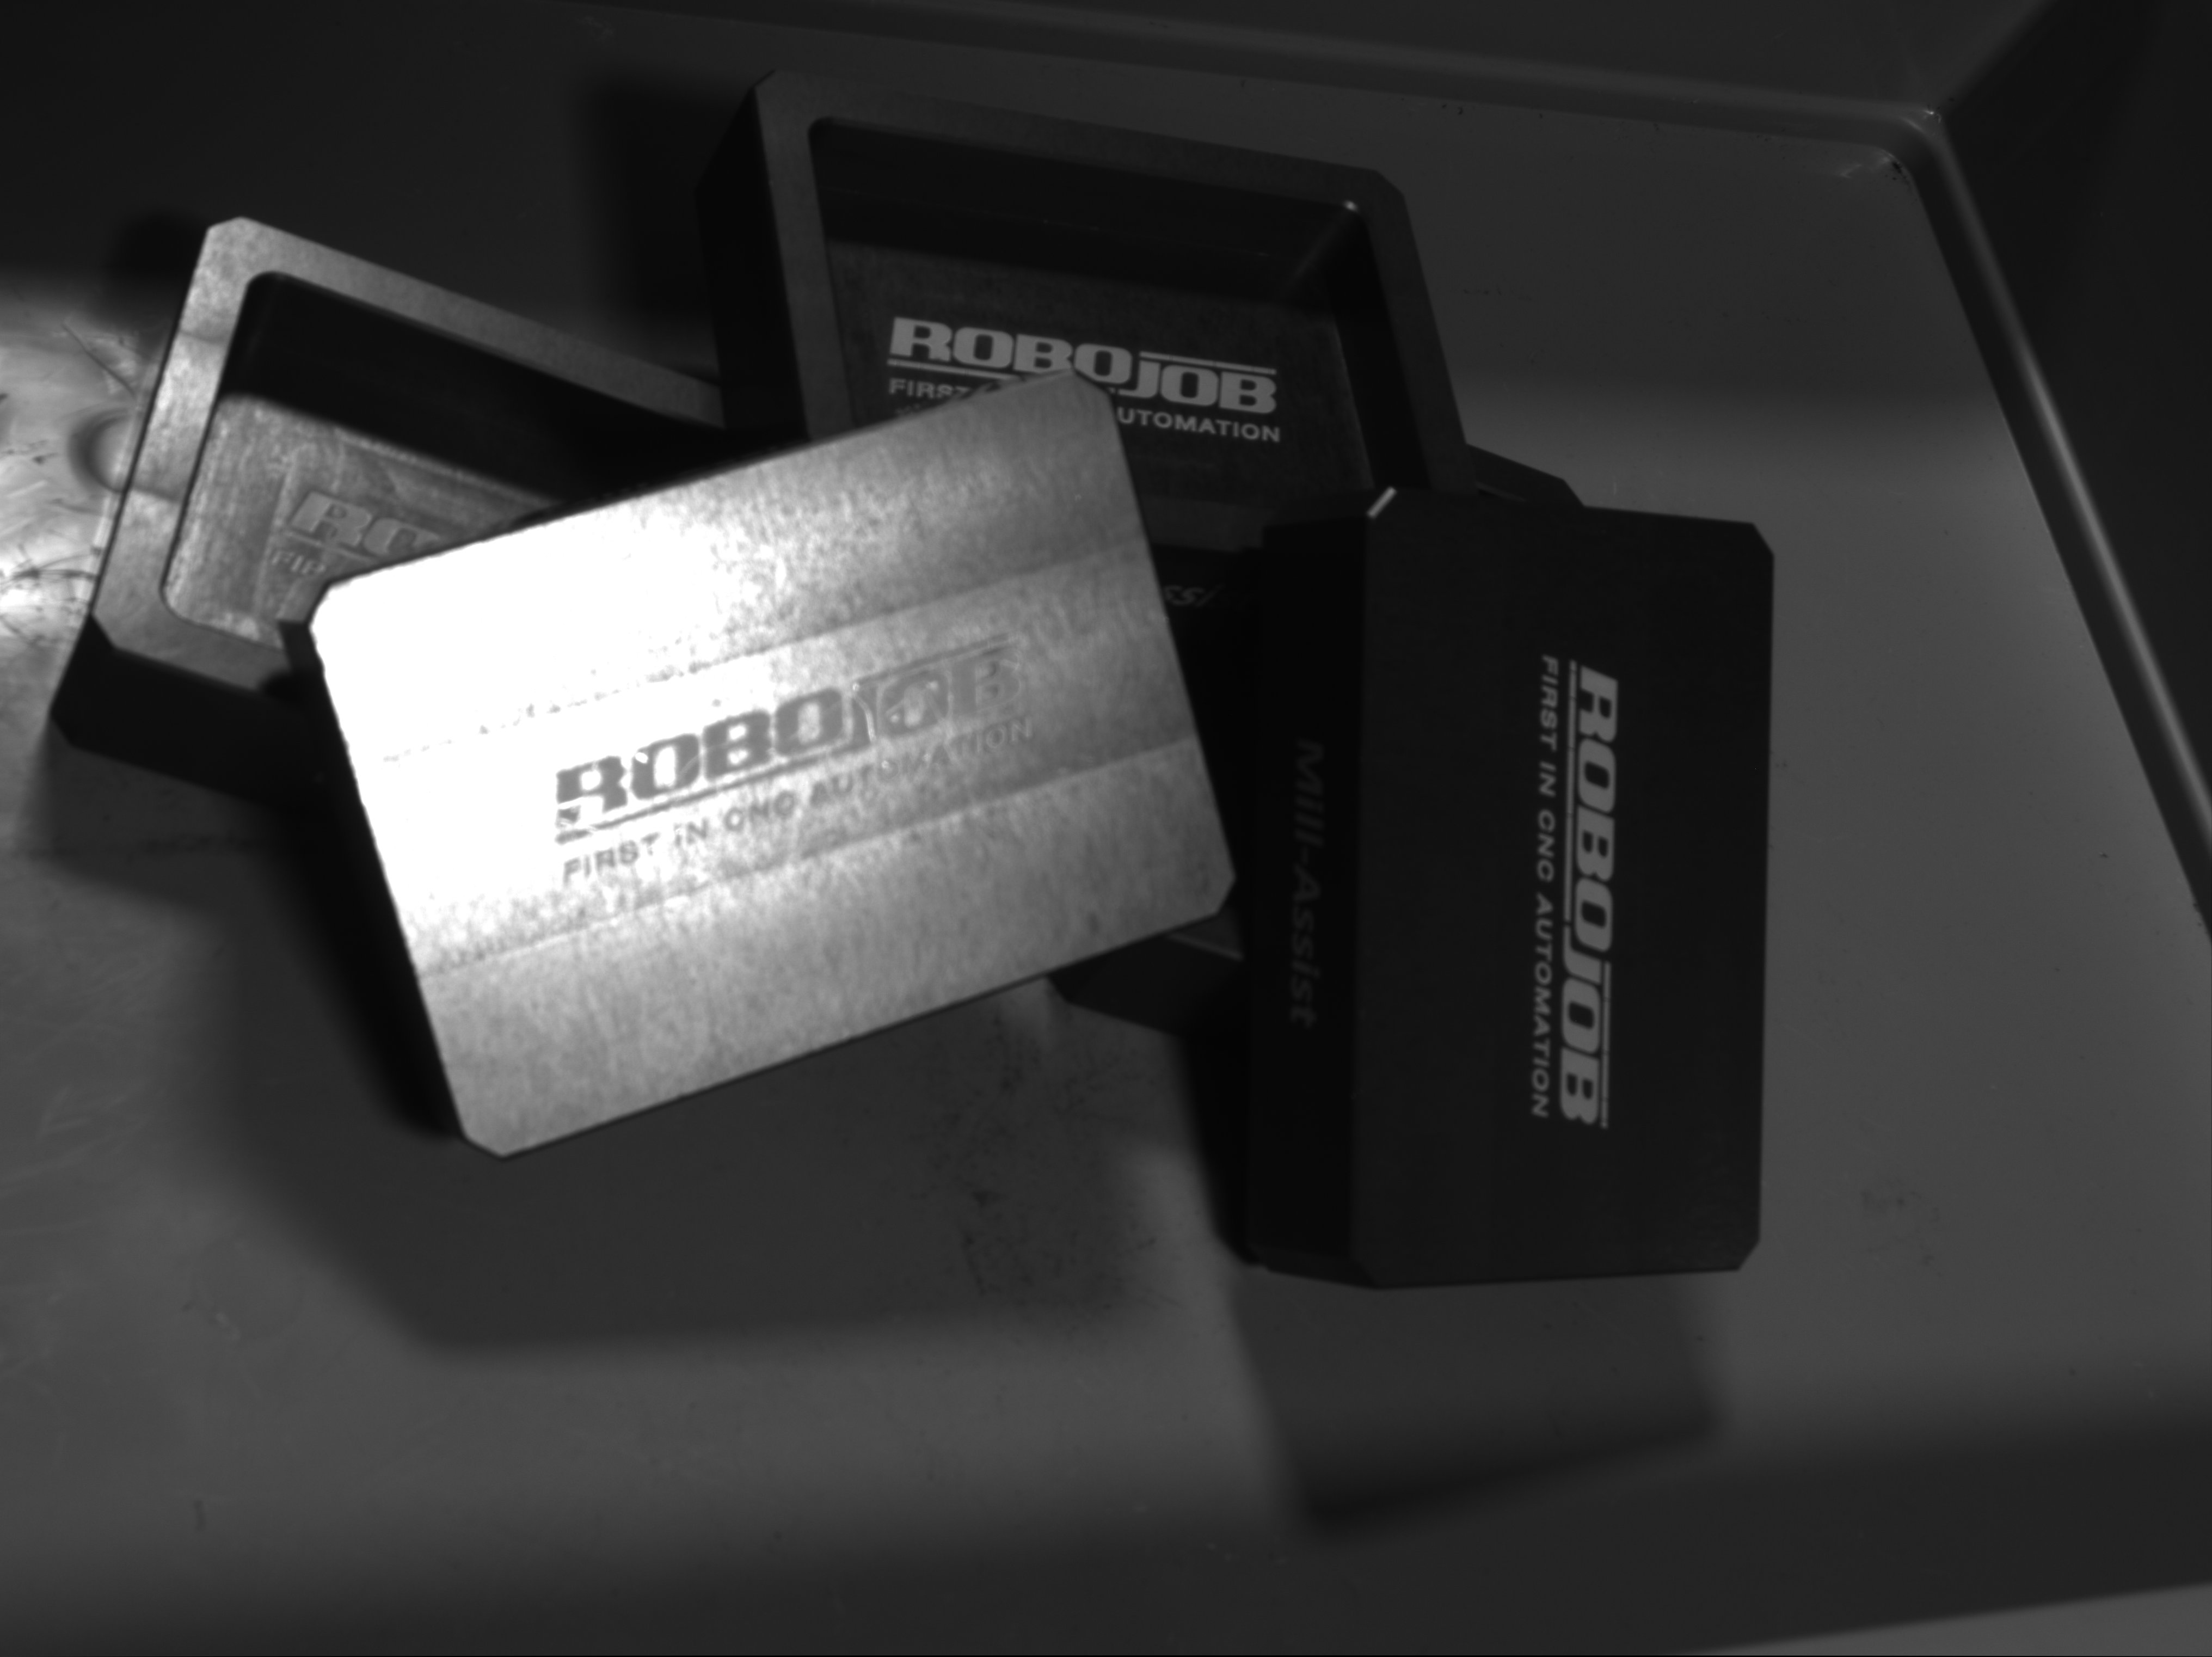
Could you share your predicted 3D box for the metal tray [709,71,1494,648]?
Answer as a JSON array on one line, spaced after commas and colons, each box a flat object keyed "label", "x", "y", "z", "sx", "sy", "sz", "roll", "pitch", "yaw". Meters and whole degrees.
[{"label": "metal tray", "x": 0.001, "y": -0.080, "z": 0.646, "sx": 0.130, "sy": 0.030, "sz": 0.090, "roll": 4, "pitch": 60, "yaw": -26}]

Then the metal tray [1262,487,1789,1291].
[{"label": "metal tray", "x": 0.073, "y": 0.011, "z": 0.626, "sx": 0.090, "sy": 0.030, "sz": 0.130, "roll": 2, "pitch": 89, "yaw": -34}]

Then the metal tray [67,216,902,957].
[{"label": "metal tray", "x": -0.095, "y": -0.039, "z": 0.606, "sx": 0.130, "sy": 0.030, "sz": 0.090, "roll": 18, "pitch": 54, "yaw": -18}]

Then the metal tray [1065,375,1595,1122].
[{"label": "metal tray", "x": 0.044, "y": -0.018, "z": 0.669, "sx": 0.090, "sy": 0.030, "sz": 0.130, "roll": 18, "pitch": 55, "yaw": -18}]

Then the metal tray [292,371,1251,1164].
[{"label": "metal tray", "x": -0.051, "y": -0.011, "z": 0.571, "sx": 0.130, "sy": 0.030, "sz": 0.090, "roll": -18, "pitch": 100, "yaw": -19}]
